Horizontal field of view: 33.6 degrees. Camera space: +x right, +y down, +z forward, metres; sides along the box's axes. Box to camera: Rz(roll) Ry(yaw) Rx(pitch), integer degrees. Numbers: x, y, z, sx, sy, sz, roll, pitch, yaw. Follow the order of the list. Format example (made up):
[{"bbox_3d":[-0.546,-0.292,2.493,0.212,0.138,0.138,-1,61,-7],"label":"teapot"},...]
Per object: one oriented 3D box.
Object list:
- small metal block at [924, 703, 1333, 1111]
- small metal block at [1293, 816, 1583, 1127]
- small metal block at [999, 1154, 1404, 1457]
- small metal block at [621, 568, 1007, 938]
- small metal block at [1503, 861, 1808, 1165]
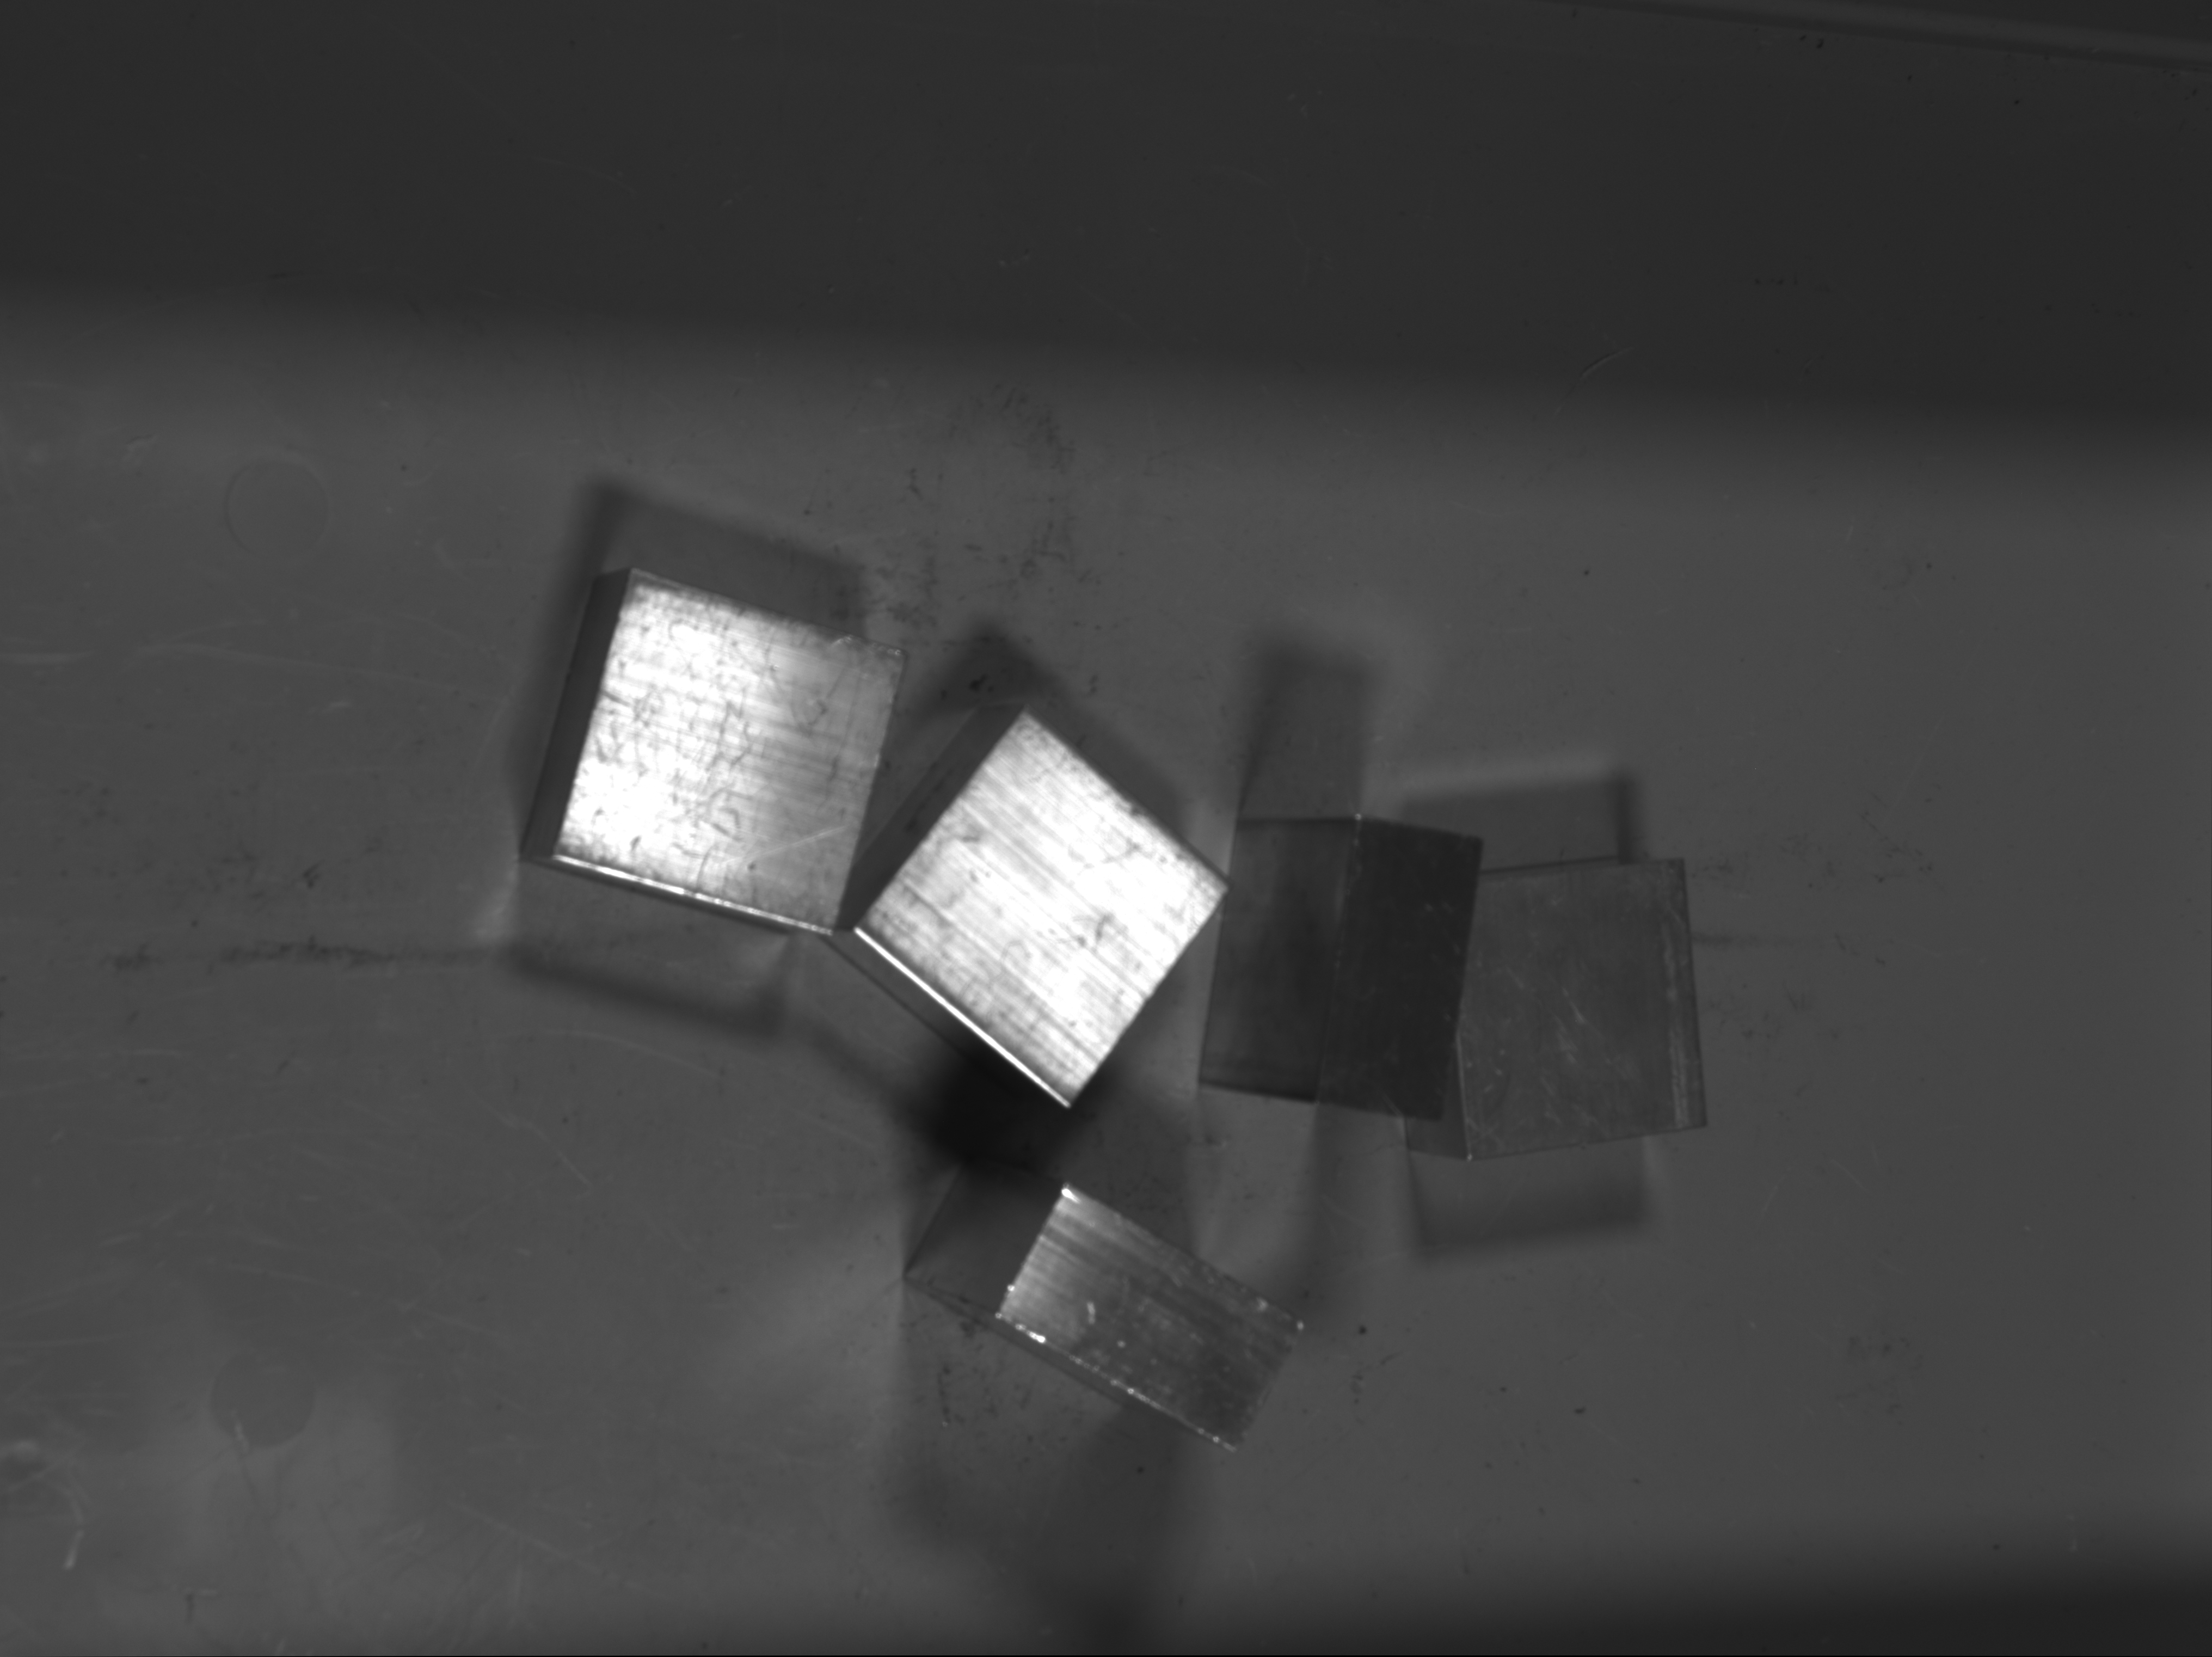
[{"bbox_3d":[0.003,0.014,0.642,0.050,0.025,0.050,41,77,-15],"label":"small metal block"},{"bbox_3d":[0.058,0.025,0.650,0.025,0.050,0.050,10,86,-20],"label":"small metal block"},{"bbox_3d":[0.016,0.082,0.634,0.050,0.050,0.025,32,80,-18],"label":"small metal block"},{"bbox_3d":[-0.050,-0.012,0.623,0.050,0.025,0.050,16,84,-19],"label":"small metal block"},{"bbox_3d":[0.099,0.033,0.677,0.050,0.025,0.050,-6,92,-20],"label":"small metal block"}]
